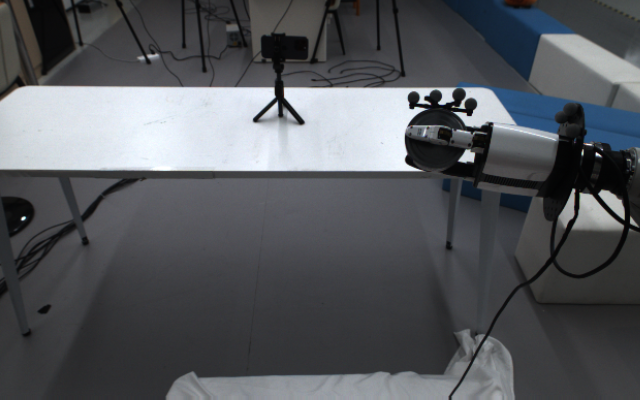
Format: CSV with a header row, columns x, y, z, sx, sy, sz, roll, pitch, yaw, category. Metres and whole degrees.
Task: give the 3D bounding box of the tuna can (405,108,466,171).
x,y,z,sx,sy,sz,roll,pitch,yaw,category
0.163,-0.088,0.682,0.085,0.085,0.034,11,-7,12,tuna can
